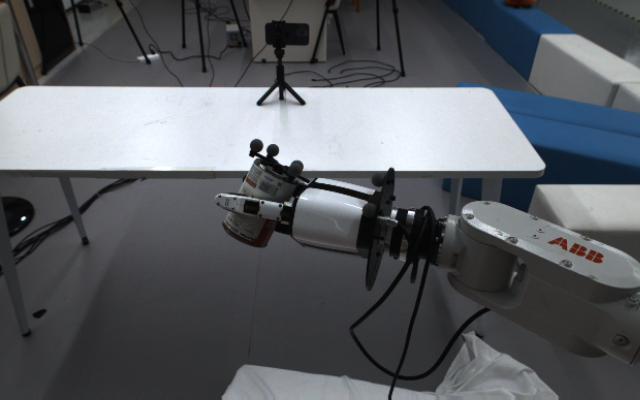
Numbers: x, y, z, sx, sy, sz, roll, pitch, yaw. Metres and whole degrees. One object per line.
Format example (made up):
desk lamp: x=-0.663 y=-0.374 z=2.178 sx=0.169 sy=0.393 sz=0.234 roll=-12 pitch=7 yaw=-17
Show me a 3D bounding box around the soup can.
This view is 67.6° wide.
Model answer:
soup can: x=-0.079 y=0.005 z=0.650 sx=0.067 sy=0.101 sz=0.067 roll=27 pitch=10 yaw=-5
